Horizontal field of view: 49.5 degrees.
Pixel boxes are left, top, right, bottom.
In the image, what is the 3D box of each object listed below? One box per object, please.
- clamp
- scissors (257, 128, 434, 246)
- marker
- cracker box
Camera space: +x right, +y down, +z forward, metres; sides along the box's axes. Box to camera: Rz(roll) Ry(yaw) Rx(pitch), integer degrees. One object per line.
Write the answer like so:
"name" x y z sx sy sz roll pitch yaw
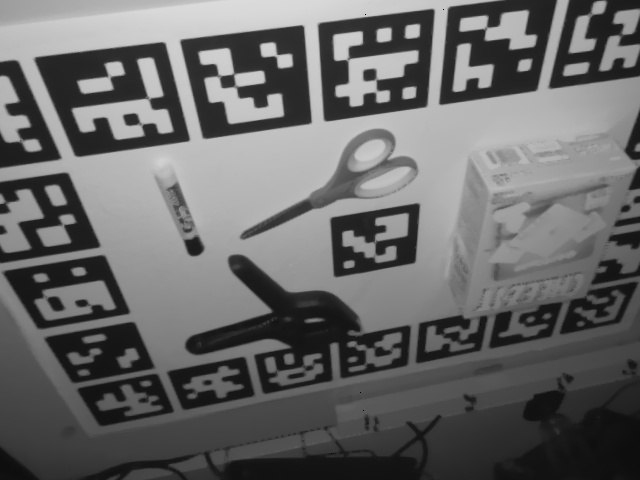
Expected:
"clamp" -0.017 0.097 0.837 0.205 0.037 0.163 14 129 -25
"scissors" 0.021 -0.041 0.709 0.201 0.016 0.088 -29 135 16
"marker" -0.120 -0.020 0.689 0.020 0.020 0.120 -13 135 -3
"cracker box" 0.259 -0.005 0.772 0.165 0.072 0.211 -9 134 -6
